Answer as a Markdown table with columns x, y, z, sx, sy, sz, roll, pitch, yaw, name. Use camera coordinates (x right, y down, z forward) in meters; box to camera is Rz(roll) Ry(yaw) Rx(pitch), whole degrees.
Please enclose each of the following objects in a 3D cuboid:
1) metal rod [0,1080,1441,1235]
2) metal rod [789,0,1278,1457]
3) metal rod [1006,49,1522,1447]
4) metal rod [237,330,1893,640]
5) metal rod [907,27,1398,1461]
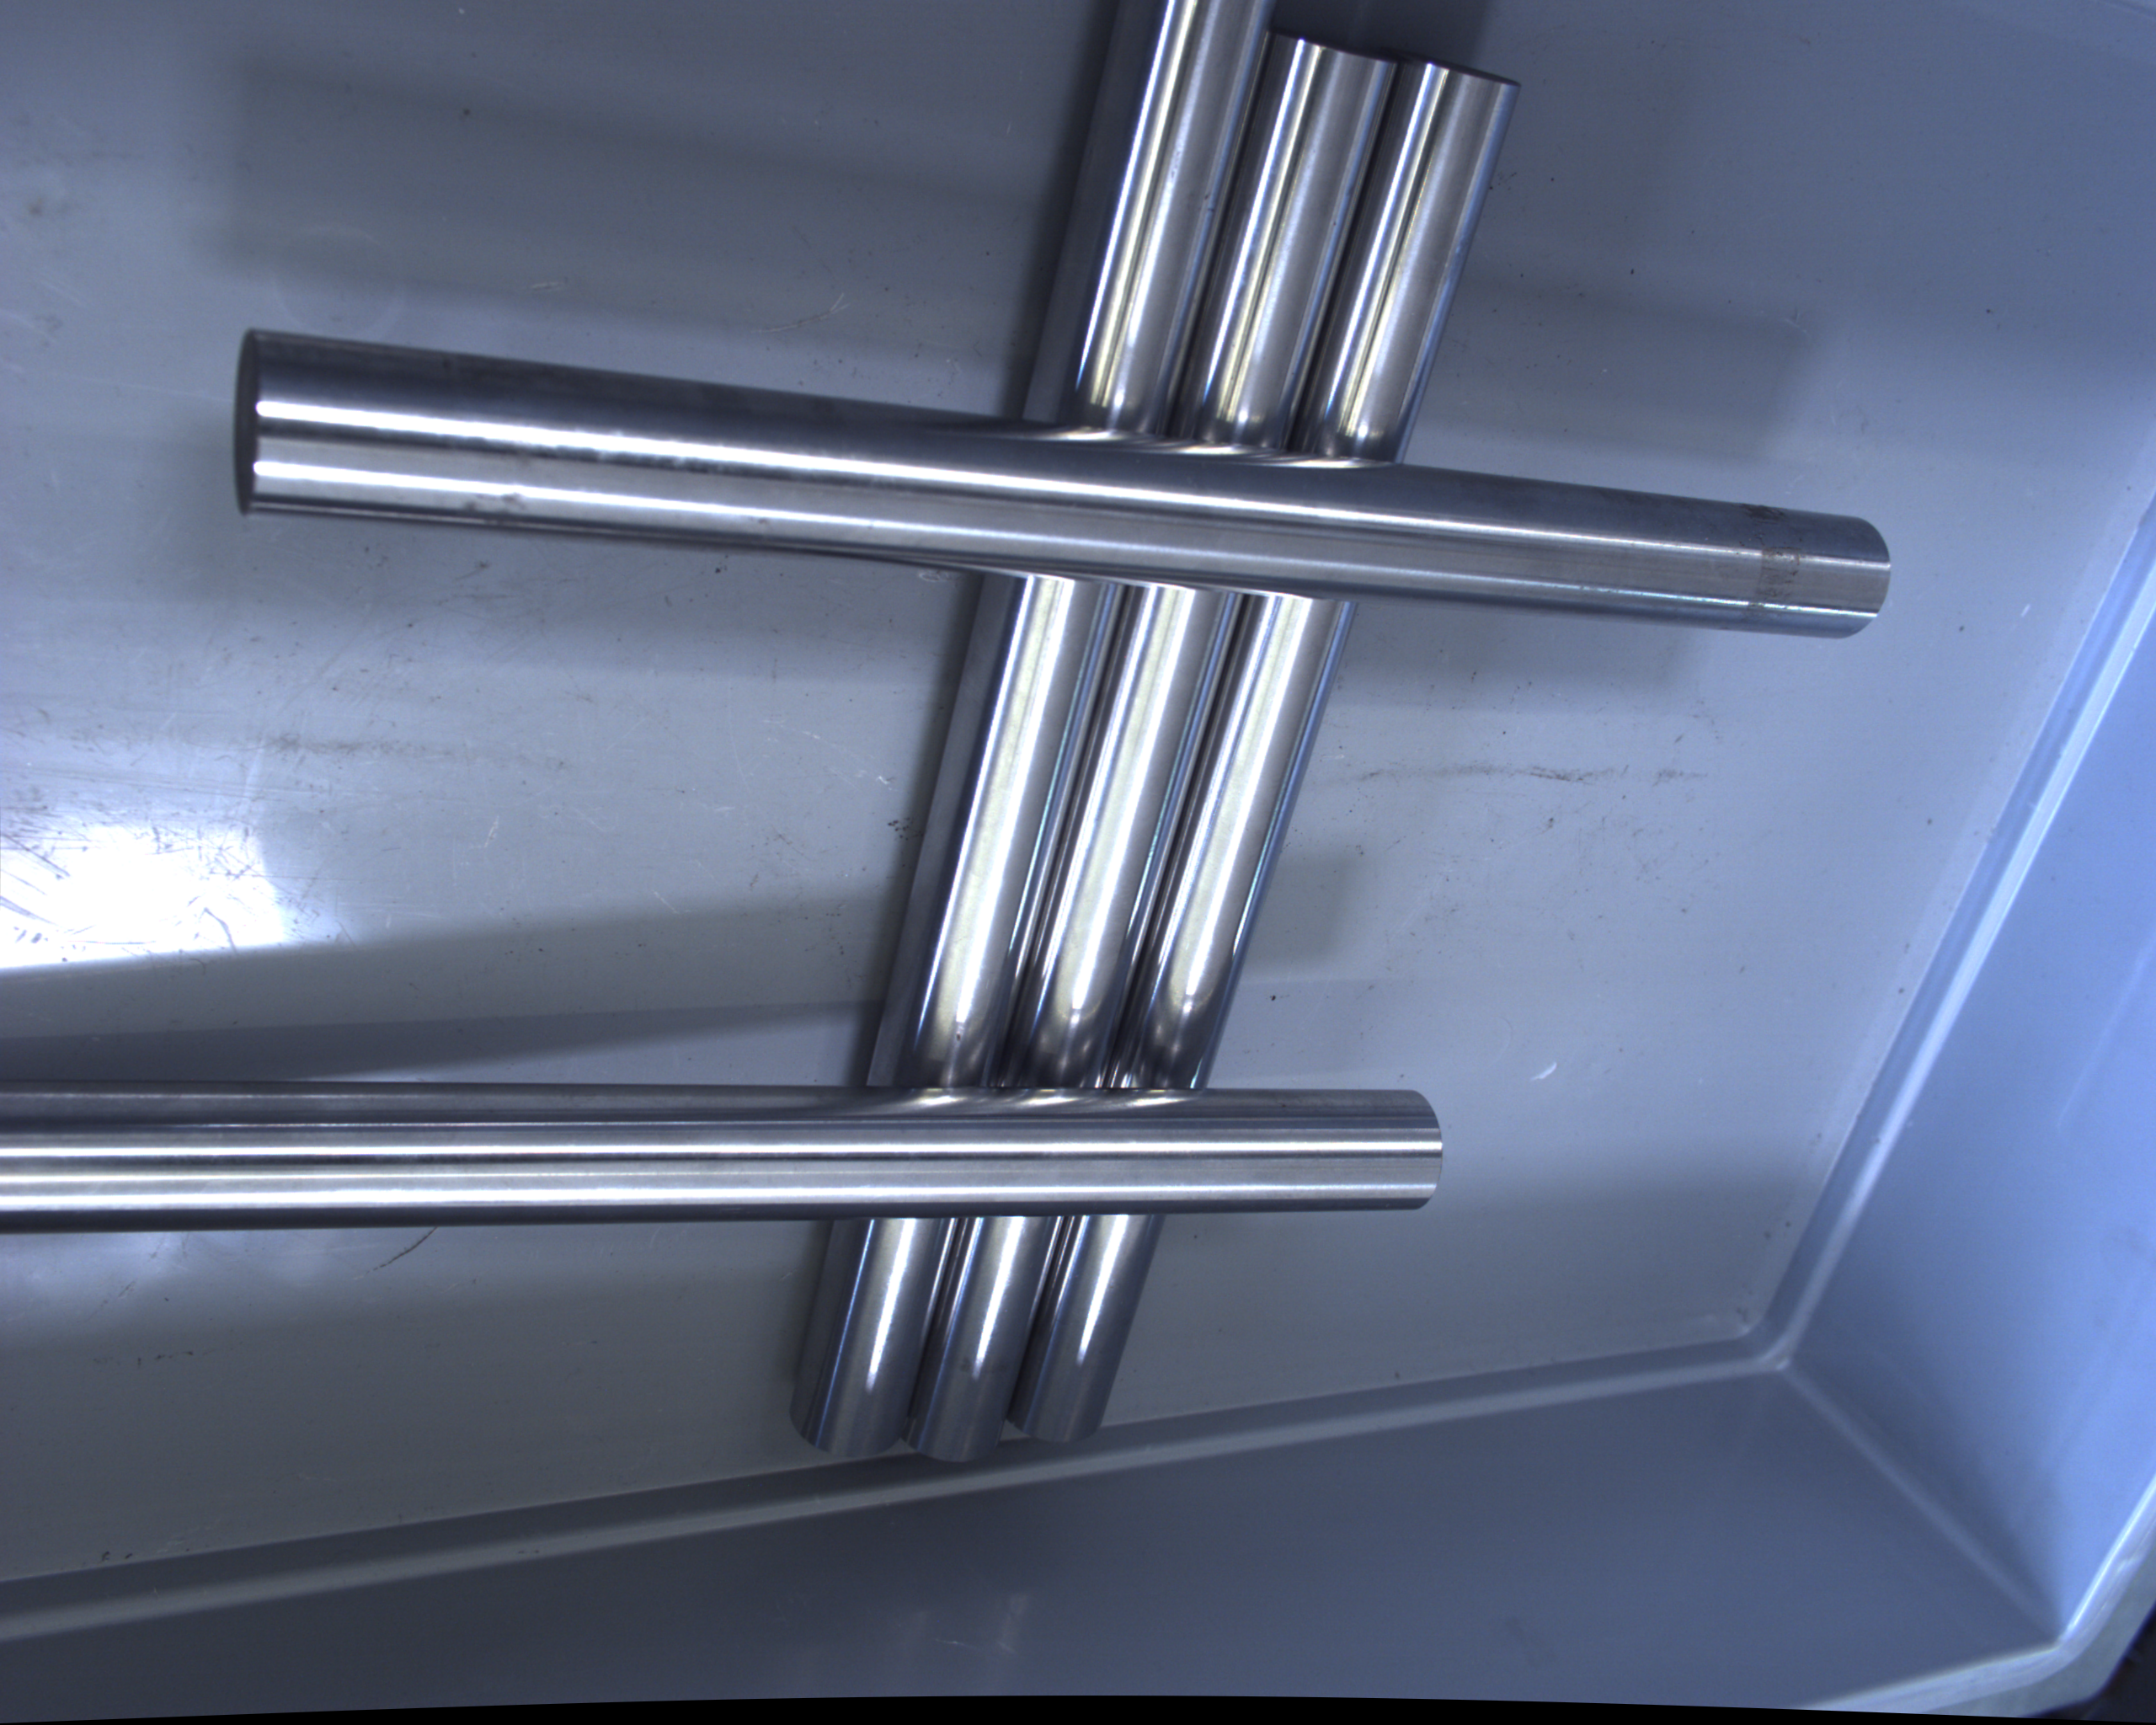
| x | y | z | sx | sy | sz | roll | pitch | yaw | name |
| --- | --- | --- | --- | --- | --- | --- | --- | --- | --- |
| -0.071 | 0.053 | 0.377 | 0.302 | 0.025 | 0.025 | 3 | 117 | -22 | metal rod |
| -0.015 | -0.010 | 0.393 | 0.025 | 0.025 | 0.298 | 0 | 118 | -29 | metal rod |
| 0.028 | -0.005 | 0.418 | 0.025 | 0.025 | 0.298 | 1 | 118 | -29 | metal rod |
| 0.022 | -0.058 | 0.350 | 0.303 | 0.025 | 0.025 | 0 | 118 | -28 | metal rod |
| 0.005 | -0.005 | 0.407 | 0.025 | 0.025 | 0.298 | 1 | 118 | -29 | metal rod |
